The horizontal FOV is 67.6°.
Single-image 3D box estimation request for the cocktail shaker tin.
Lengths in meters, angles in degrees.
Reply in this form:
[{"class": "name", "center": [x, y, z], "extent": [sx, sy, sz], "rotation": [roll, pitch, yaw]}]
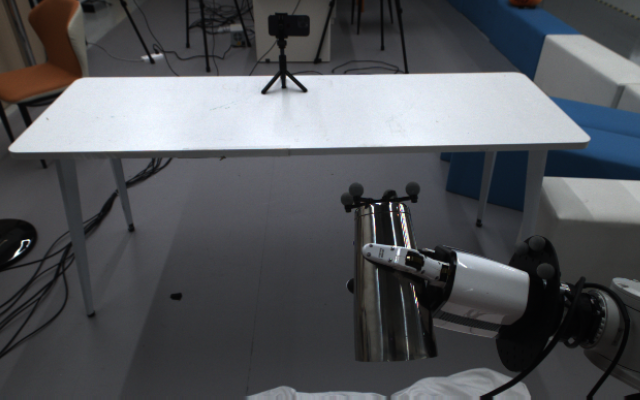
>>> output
[{"class": "cocktail shaker tin", "center": [0.081, 0.093, 0.559], "extent": [0.093, 0.093, 0.170], "rotation": [-3, 76, -8]}]
